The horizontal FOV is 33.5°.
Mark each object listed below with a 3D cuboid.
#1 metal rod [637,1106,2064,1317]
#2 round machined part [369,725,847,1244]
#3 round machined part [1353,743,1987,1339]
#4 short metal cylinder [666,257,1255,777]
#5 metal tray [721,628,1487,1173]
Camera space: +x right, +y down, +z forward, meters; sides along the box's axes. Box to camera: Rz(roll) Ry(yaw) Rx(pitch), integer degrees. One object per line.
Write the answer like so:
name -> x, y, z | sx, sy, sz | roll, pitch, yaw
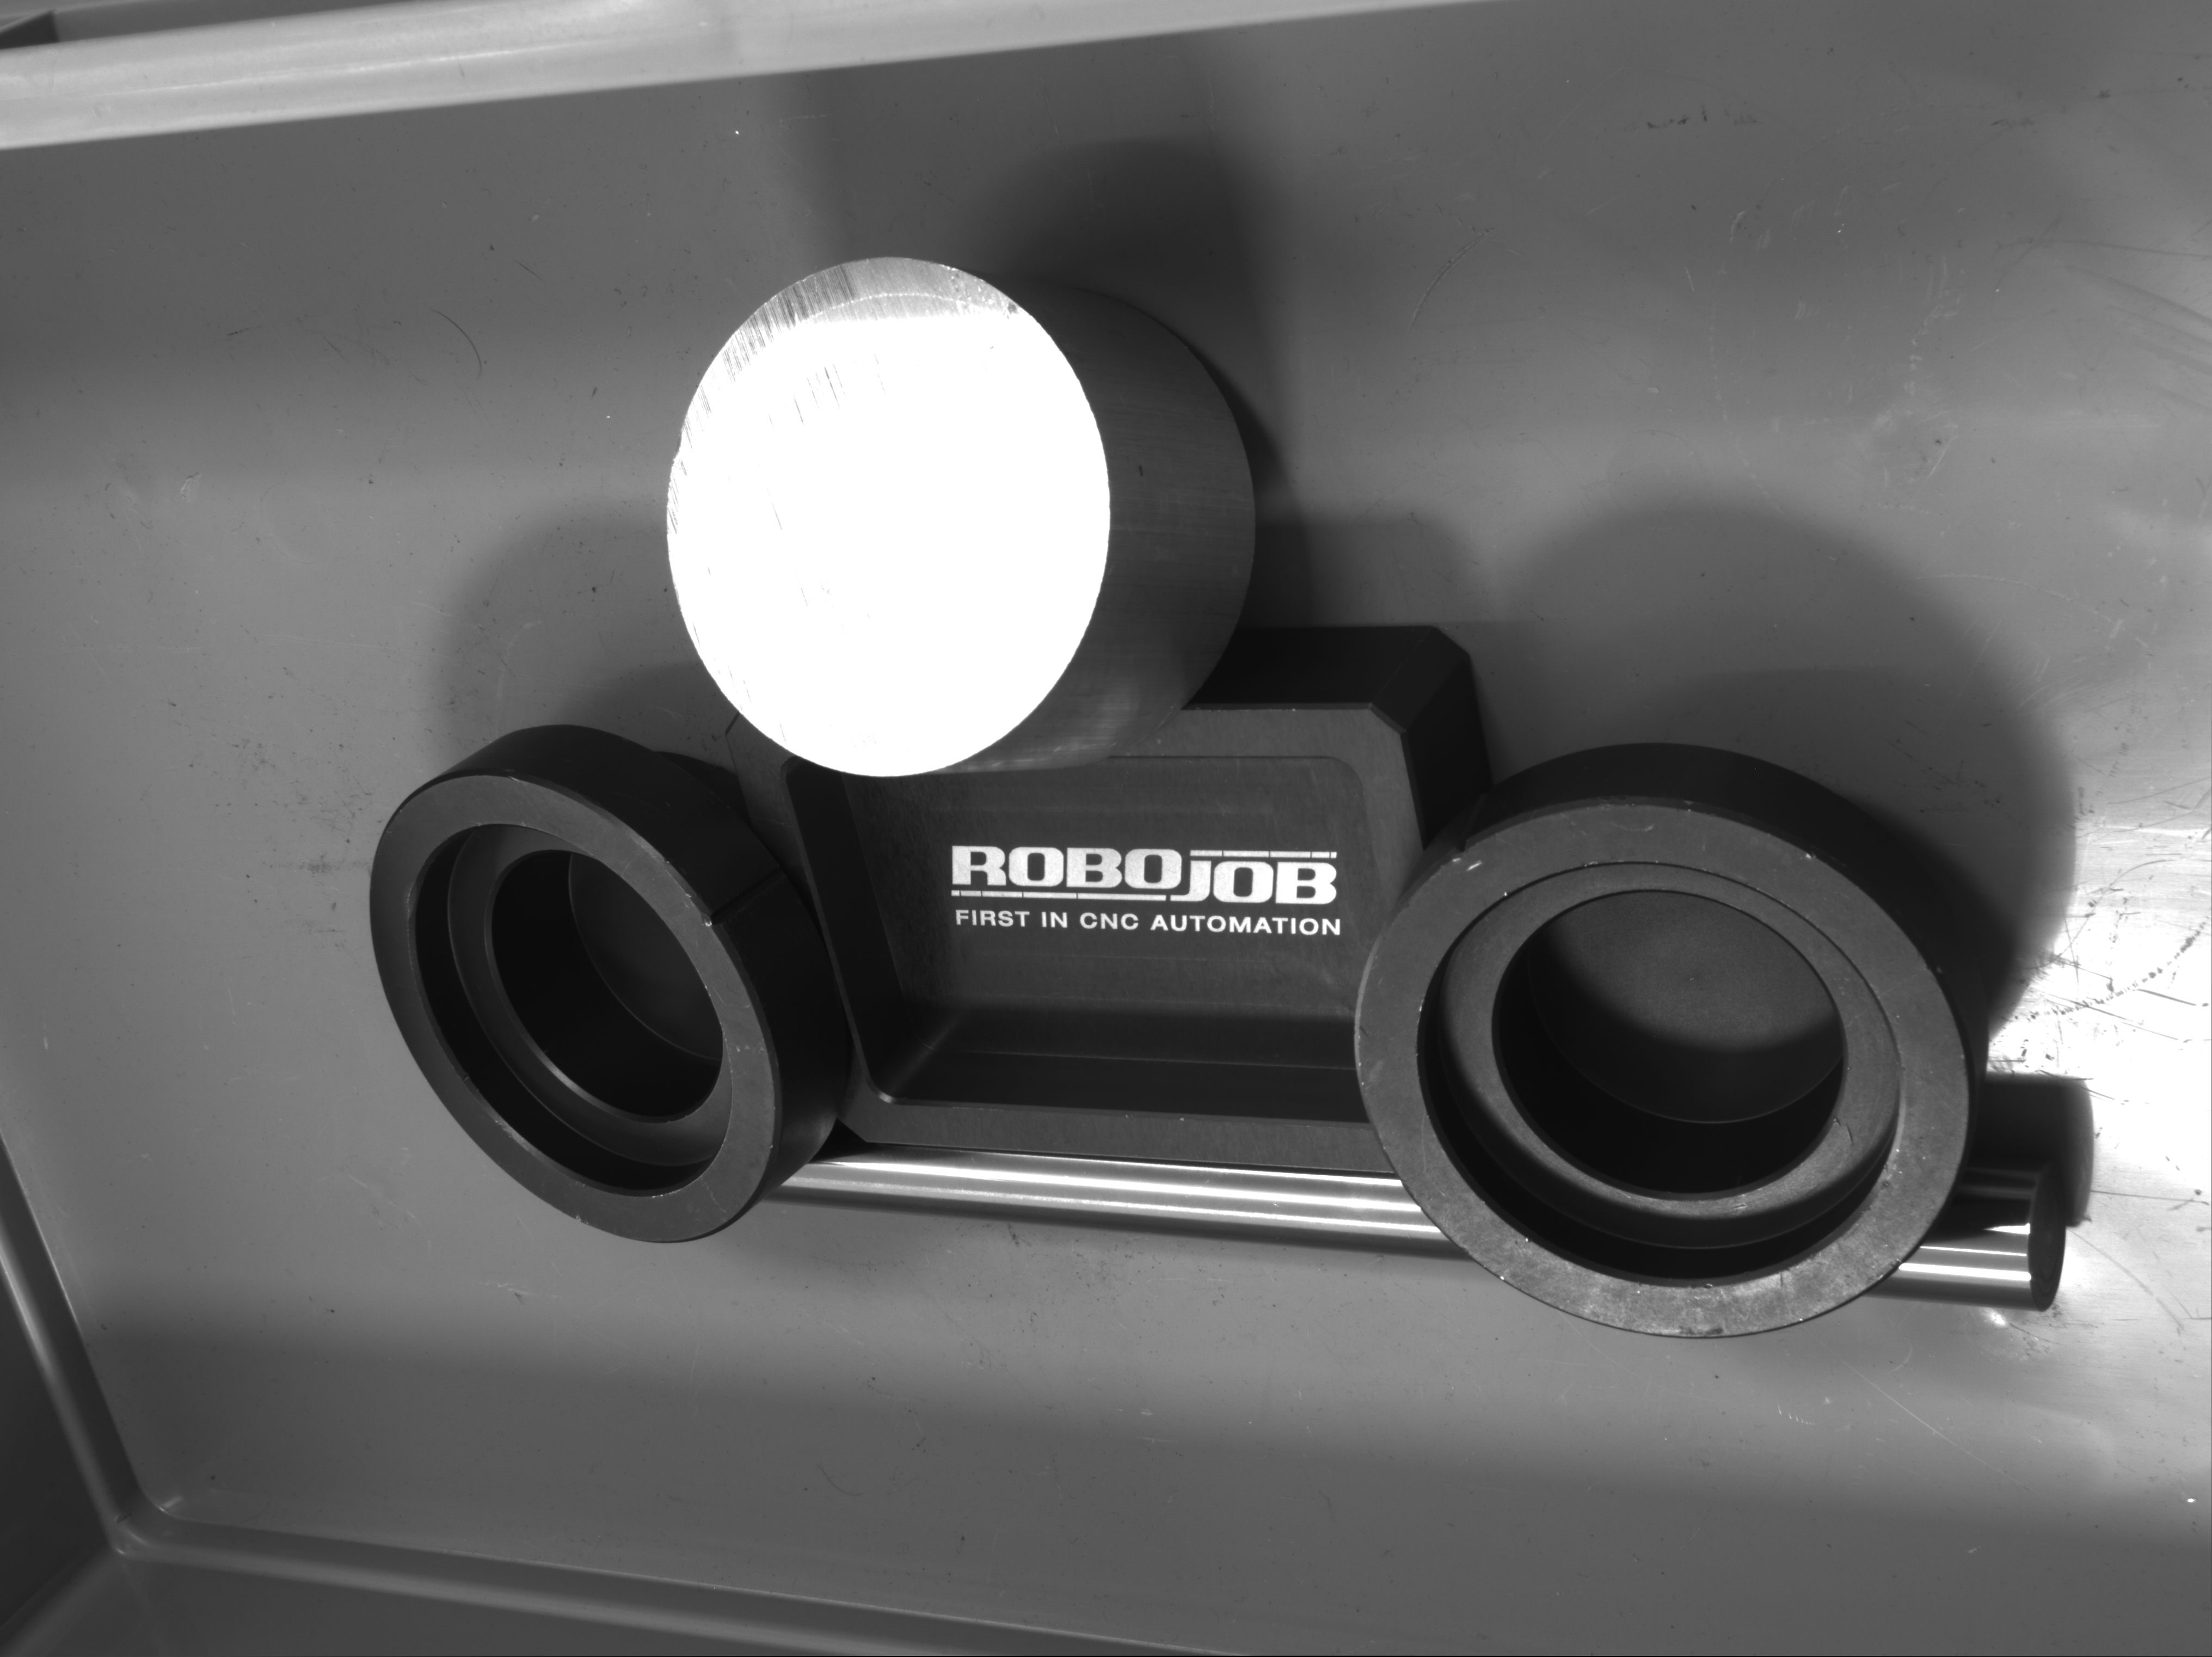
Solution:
metal rod -> 0.021, 0.063, 0.668 | 0.299, 0.025, 0.025 | 2, 119, 27
round machined part -> -0.087, 0.025, 0.686 | 0.098, 0.042, 0.098 | 19, 126, 28
round machined part -> 0.092, 0.030, 0.592 | 0.098, 0.042, 0.098 | 8, 119, 16
short metal cylinder -> -0.023, -0.049, 0.589 | 0.080, 0.050, 0.080 | 1, 92, 28
metal tray -> 0.005, 0.013, 0.642 | 0.130, 0.030, 0.090 | 0, 119, 28
